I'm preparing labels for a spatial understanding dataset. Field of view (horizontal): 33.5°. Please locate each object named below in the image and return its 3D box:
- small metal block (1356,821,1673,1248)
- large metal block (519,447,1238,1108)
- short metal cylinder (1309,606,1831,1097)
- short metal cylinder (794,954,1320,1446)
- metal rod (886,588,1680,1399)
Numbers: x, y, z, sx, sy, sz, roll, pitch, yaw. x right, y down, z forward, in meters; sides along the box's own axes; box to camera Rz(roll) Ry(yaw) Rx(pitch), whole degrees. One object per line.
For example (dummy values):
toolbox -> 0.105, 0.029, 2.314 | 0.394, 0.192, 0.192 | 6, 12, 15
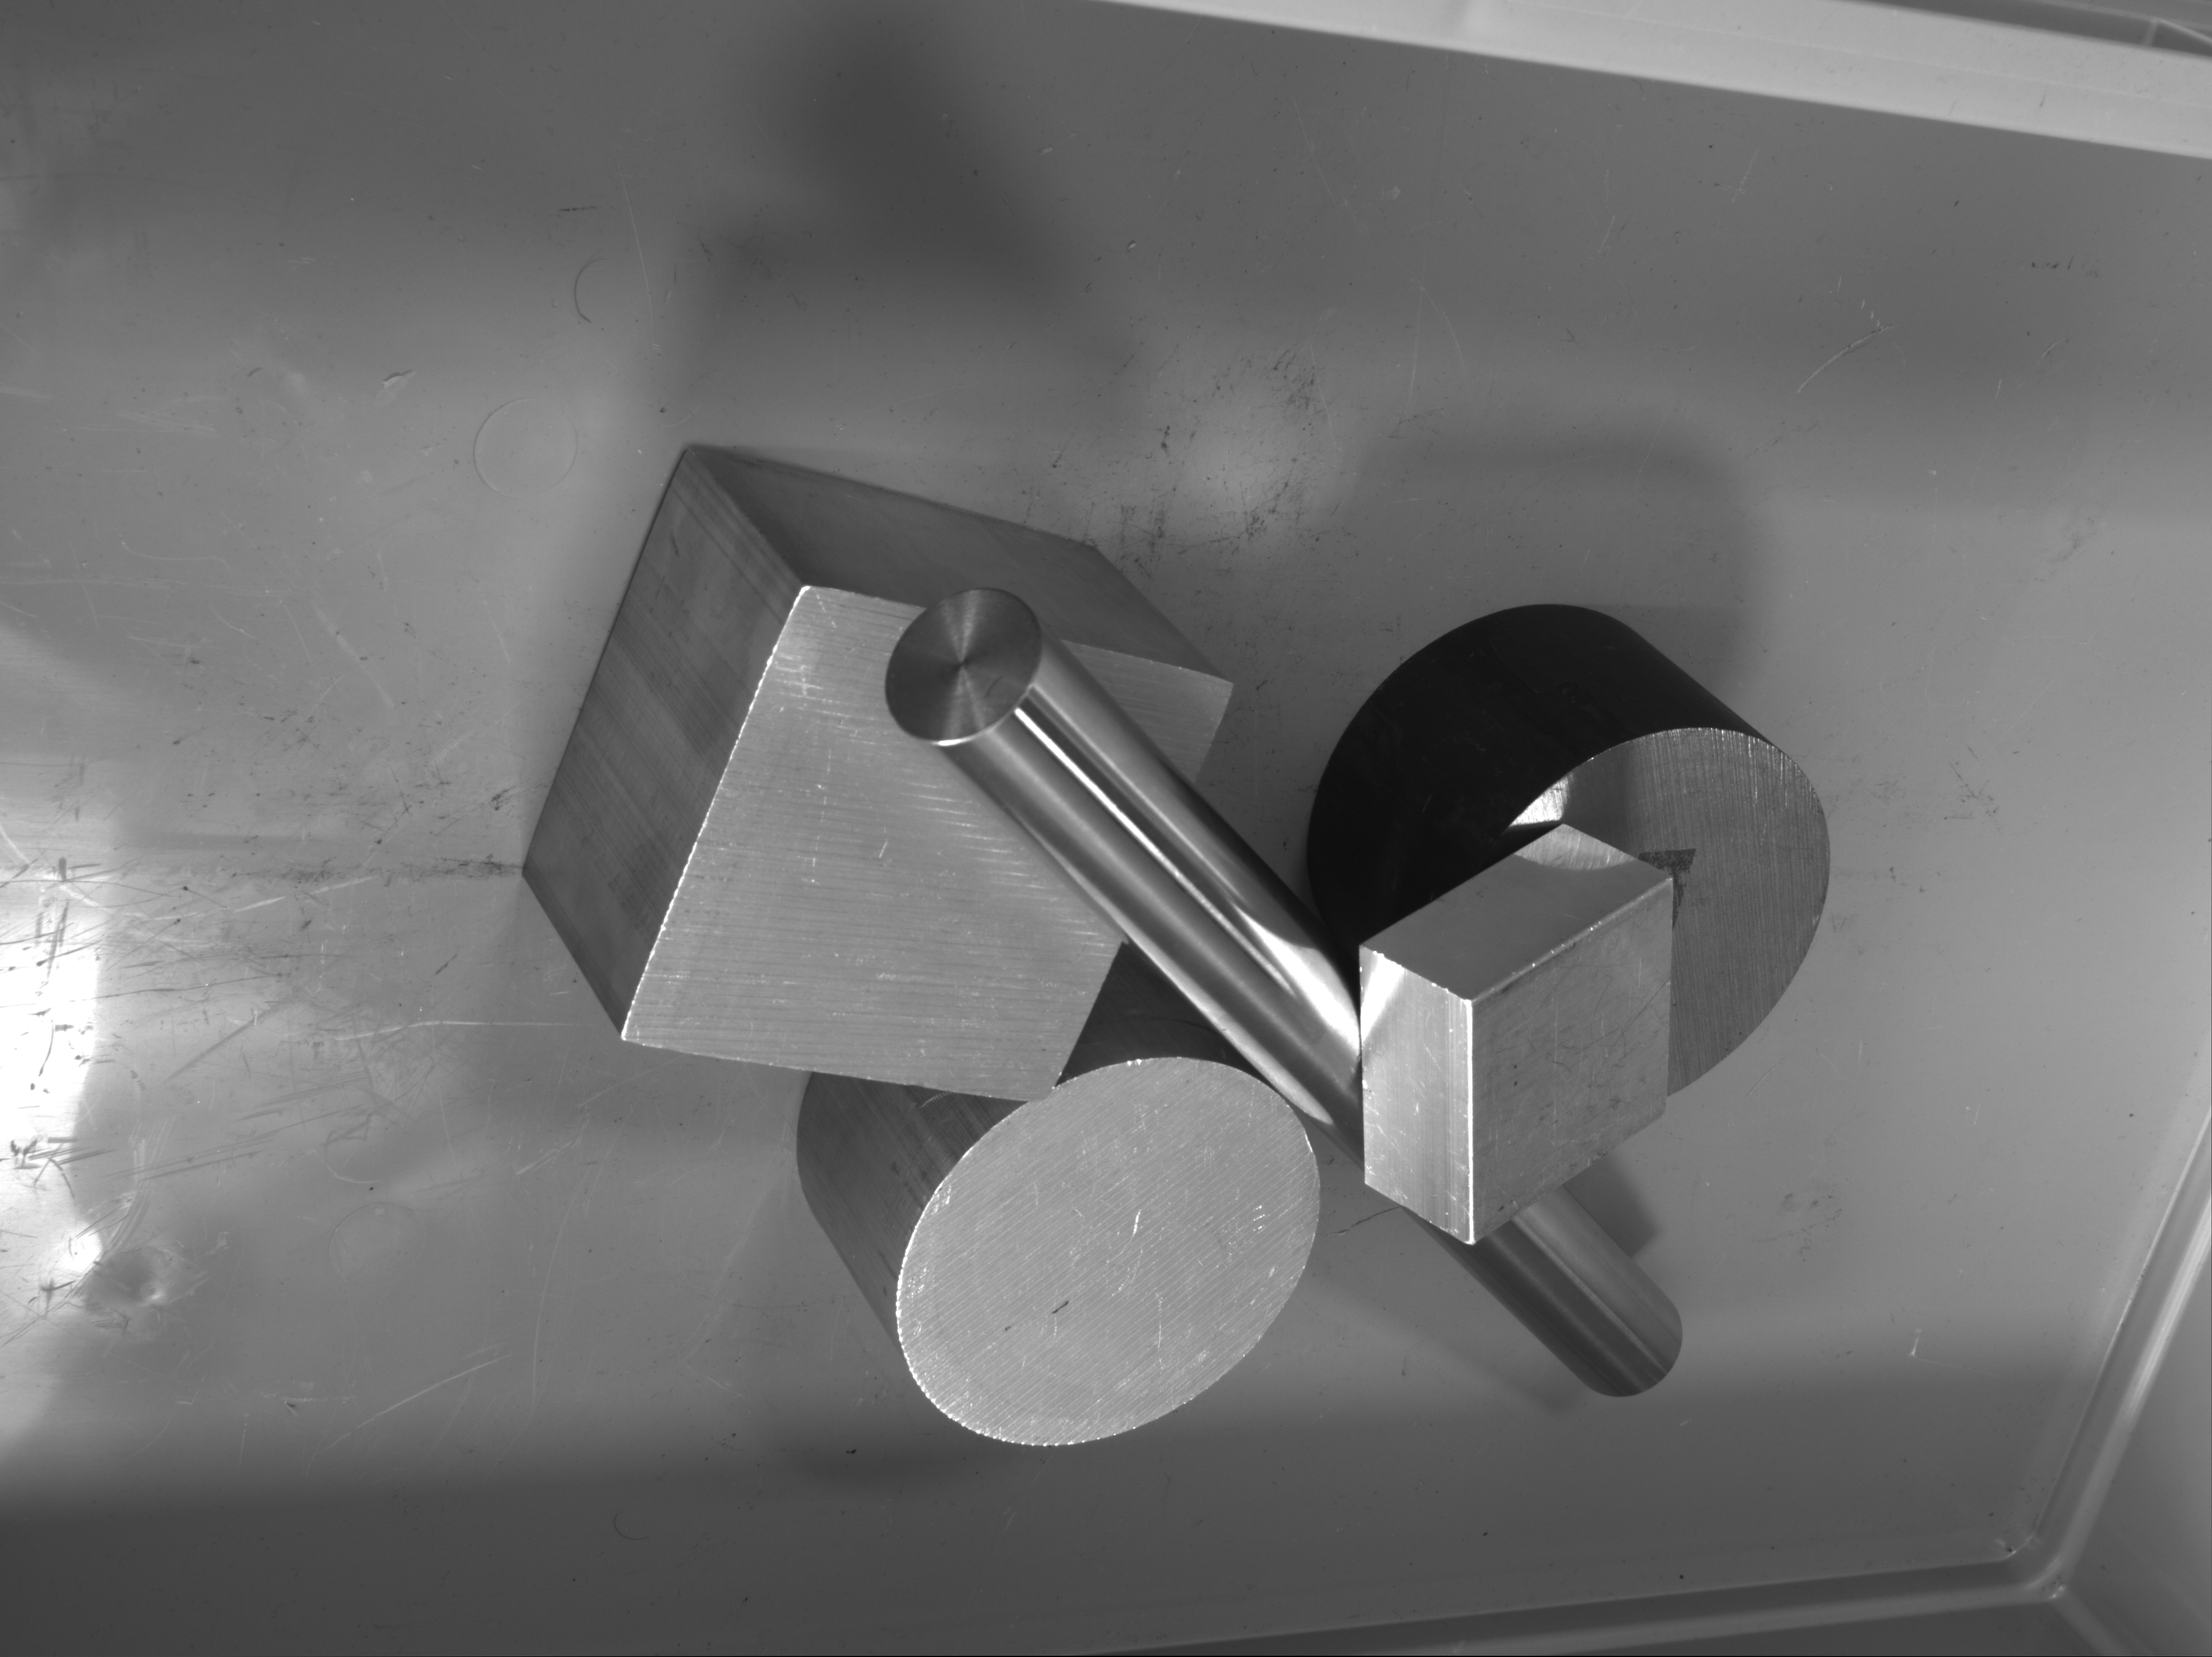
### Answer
small metal block -> 0.070, 0.034, 0.621 | 0.050, 0.025, 0.050 | -29, 130, -33
large metal block -> -0.038, -0.007, 0.593 | 0.080, 0.050, 0.080 | 11, 112, -33
short metal cylinder -> 0.084, 0.006, 0.669 | 0.080, 0.050, 0.080 | -13, 124, -21
short metal cylinder -> -0.009, 0.062, 0.653 | 0.080, 0.050, 0.080 | -13, 124, -21
metal rod -> 0.043, 0.042, 0.639 | 0.025, 0.025, 0.301 | -43, 143, 1
